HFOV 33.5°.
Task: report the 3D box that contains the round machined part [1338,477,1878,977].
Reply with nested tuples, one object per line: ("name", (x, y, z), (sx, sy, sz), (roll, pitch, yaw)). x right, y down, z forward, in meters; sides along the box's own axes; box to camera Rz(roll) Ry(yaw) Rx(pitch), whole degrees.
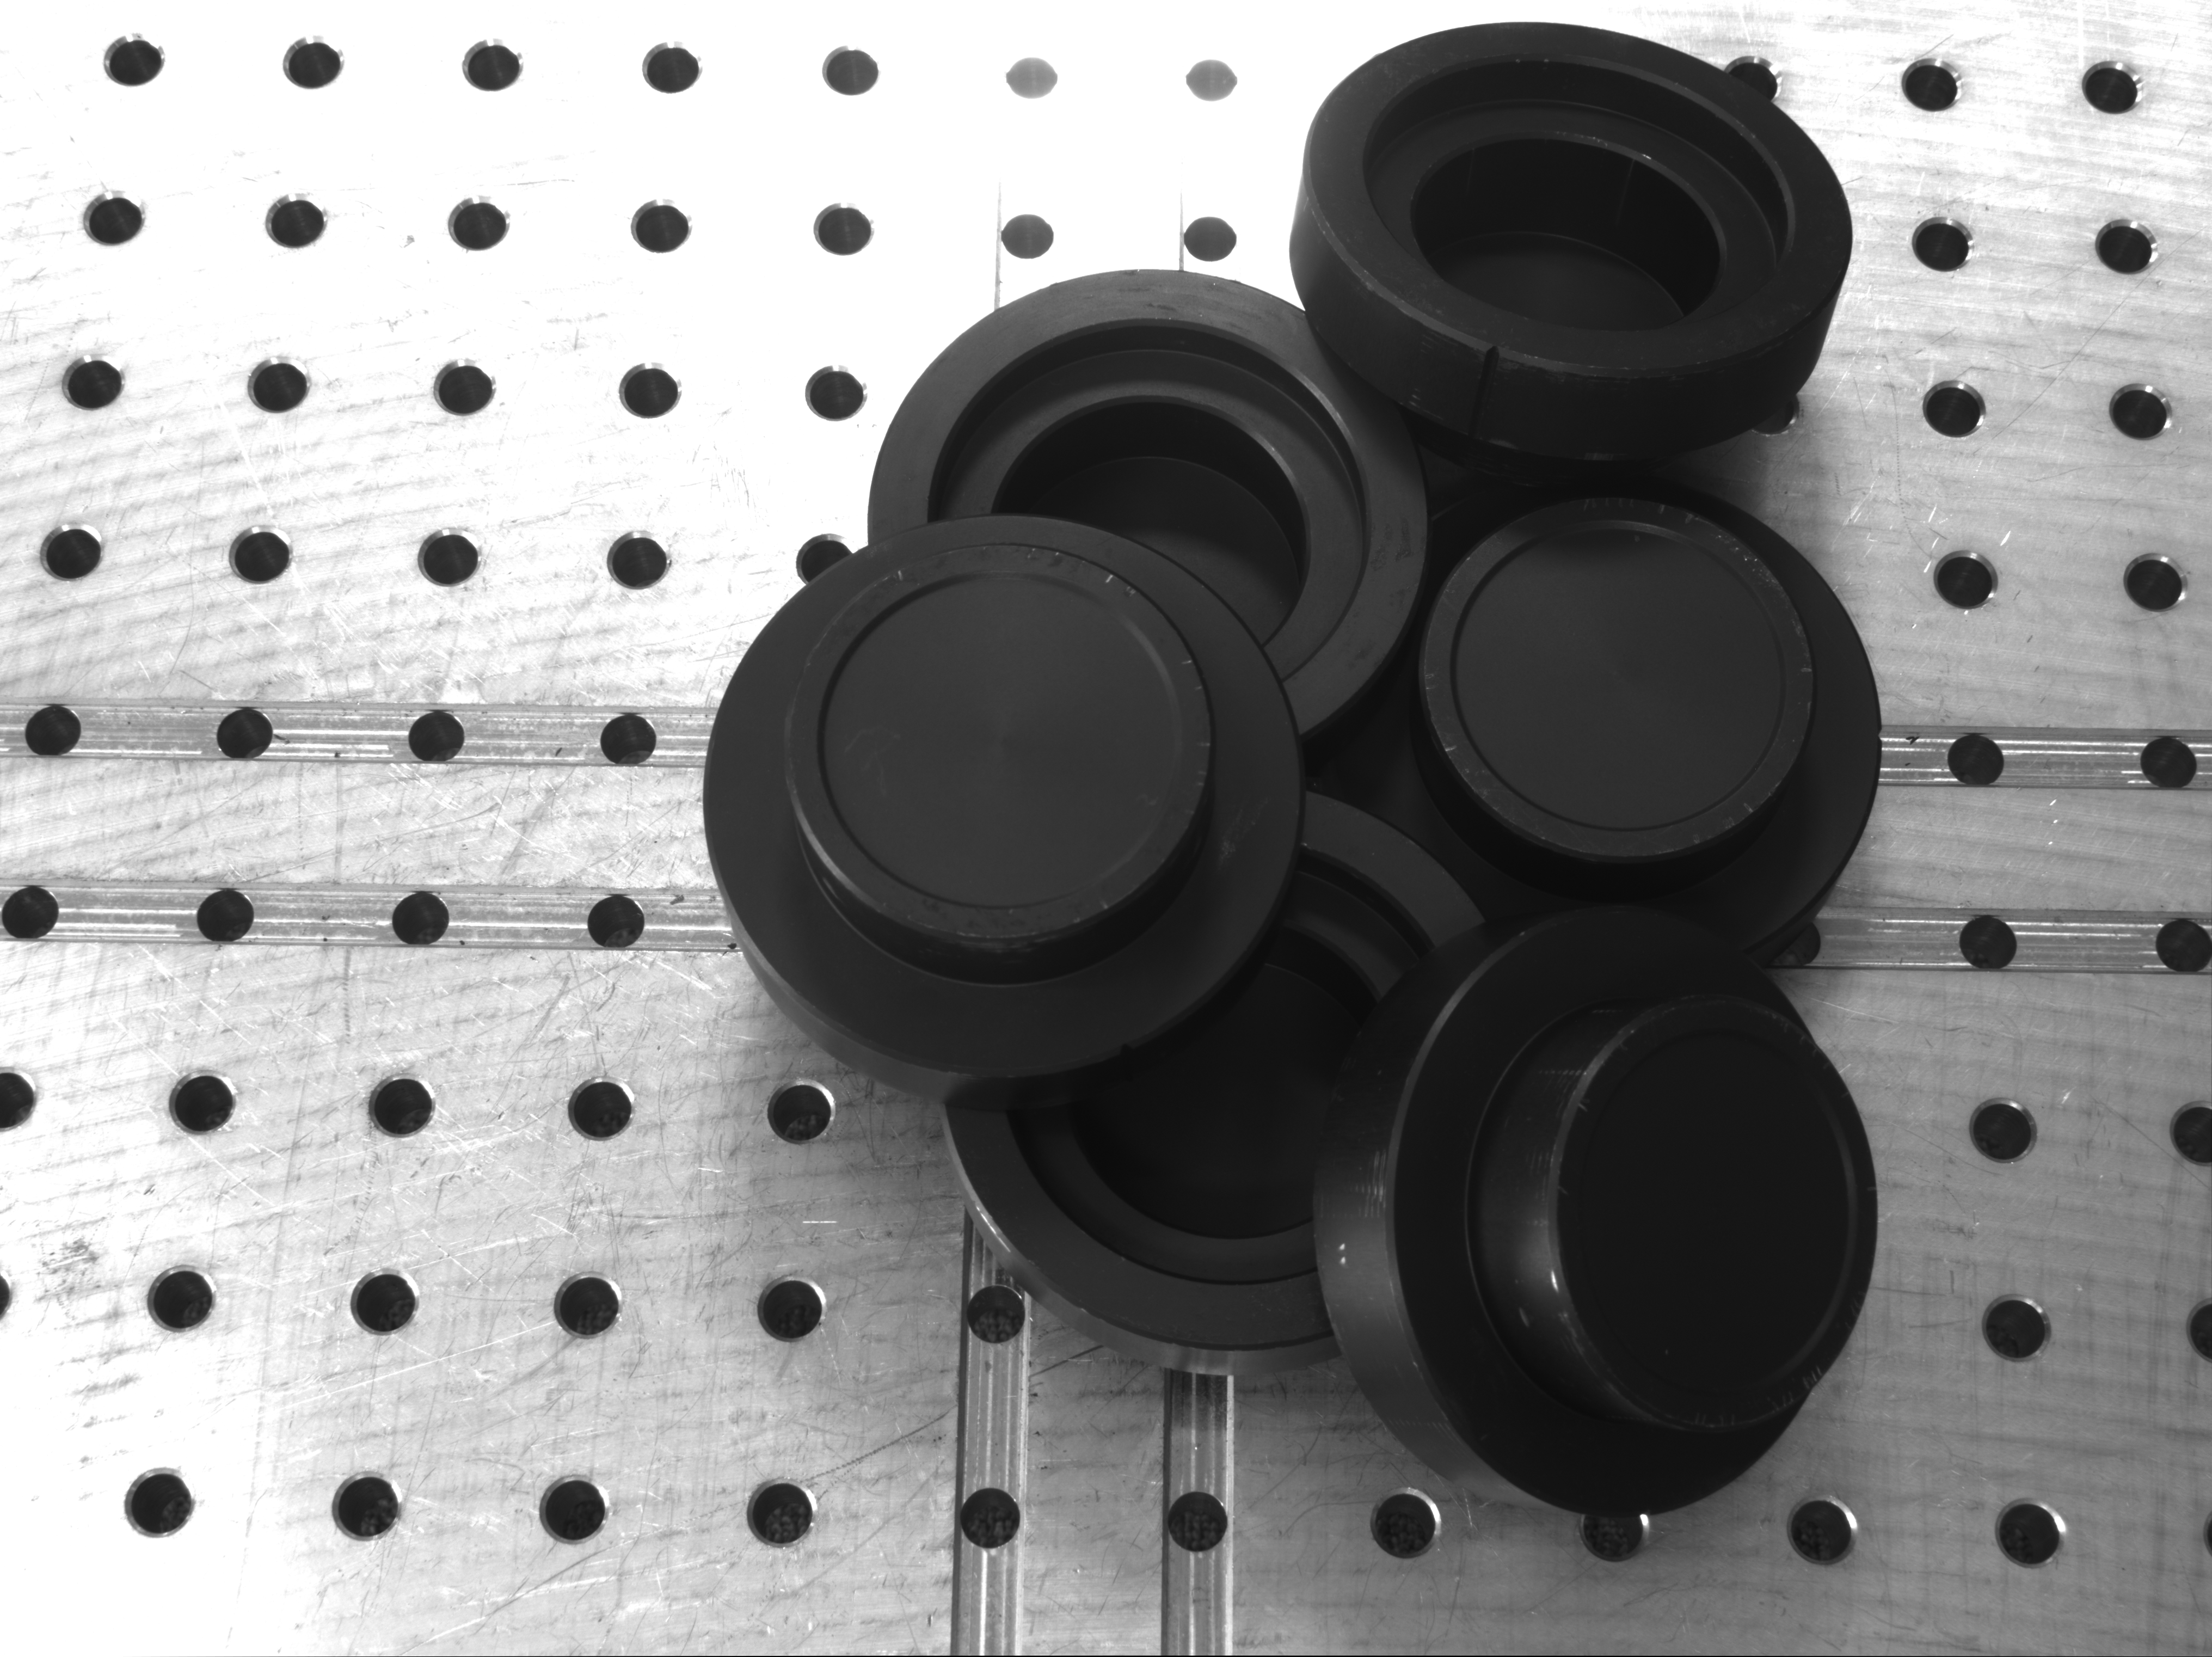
("round machined part", (0.087, -0.019, 0.646), (0.098, 0.042, 0.098), (0, 70, 0))

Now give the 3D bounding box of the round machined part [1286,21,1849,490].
("round machined part", (0.081, -0.099, 0.663), (0.098, 0.042, 0.098), (4, 49, -5))

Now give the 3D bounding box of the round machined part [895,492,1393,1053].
("round machined part", (0.000, -0.006, 0.640), (0.098, 0.042, 0.098), (0, 70, 0))

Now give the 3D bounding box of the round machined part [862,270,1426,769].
("round machined part", (0.007, -0.047, 0.656), (0.098, 0.042, 0.098), (0, 70, 0))

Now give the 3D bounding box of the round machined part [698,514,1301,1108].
("round machined part", (-0.017, -0.007, 0.596), (0.098, 0.042, 0.098), (0, 70, 0))

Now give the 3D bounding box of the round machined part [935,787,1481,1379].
("round machined part", (0.021, 0.045, 0.622), (0.098, 0.042, 0.098), (0, 70, 0))

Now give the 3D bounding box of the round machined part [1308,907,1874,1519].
("round machined part", (0.084, 0.062, 0.590), (0.098, 0.042, 0.098), (3, 84, -32))
